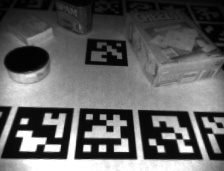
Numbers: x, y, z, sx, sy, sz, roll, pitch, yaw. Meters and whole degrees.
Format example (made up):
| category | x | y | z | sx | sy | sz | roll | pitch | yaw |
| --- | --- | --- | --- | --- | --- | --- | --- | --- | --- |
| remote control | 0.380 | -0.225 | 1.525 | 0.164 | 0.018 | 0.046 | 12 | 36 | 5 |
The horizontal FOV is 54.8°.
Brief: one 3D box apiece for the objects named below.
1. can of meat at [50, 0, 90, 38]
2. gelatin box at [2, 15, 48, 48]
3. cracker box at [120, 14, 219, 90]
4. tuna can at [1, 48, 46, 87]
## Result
| category | x | y | z | sx | sy | sz | roll | pitch | yaw |
| --- | --- | --- | --- | --- | --- | --- | --- | --- | --- |
| can of meat | -0.111 | -0.187 | 0.588 | 0.101 | 0.084 | 0.058 | 24 | 50 | 16 |
| gelatin box | -0.224 | -0.145 | 0.562 | 0.088 | 0.030 | 0.074 | 37 | 51 | 20 |
| cracker box | 0.131 | -0.097 | 0.543 | 0.165 | 0.072 | 0.211 | -9 | 49 | -16 |
| tuna can | -0.189 | -0.040 | 0.467 | 0.086 | 0.034 | 0.085 | 3 | 52 | -3 |
